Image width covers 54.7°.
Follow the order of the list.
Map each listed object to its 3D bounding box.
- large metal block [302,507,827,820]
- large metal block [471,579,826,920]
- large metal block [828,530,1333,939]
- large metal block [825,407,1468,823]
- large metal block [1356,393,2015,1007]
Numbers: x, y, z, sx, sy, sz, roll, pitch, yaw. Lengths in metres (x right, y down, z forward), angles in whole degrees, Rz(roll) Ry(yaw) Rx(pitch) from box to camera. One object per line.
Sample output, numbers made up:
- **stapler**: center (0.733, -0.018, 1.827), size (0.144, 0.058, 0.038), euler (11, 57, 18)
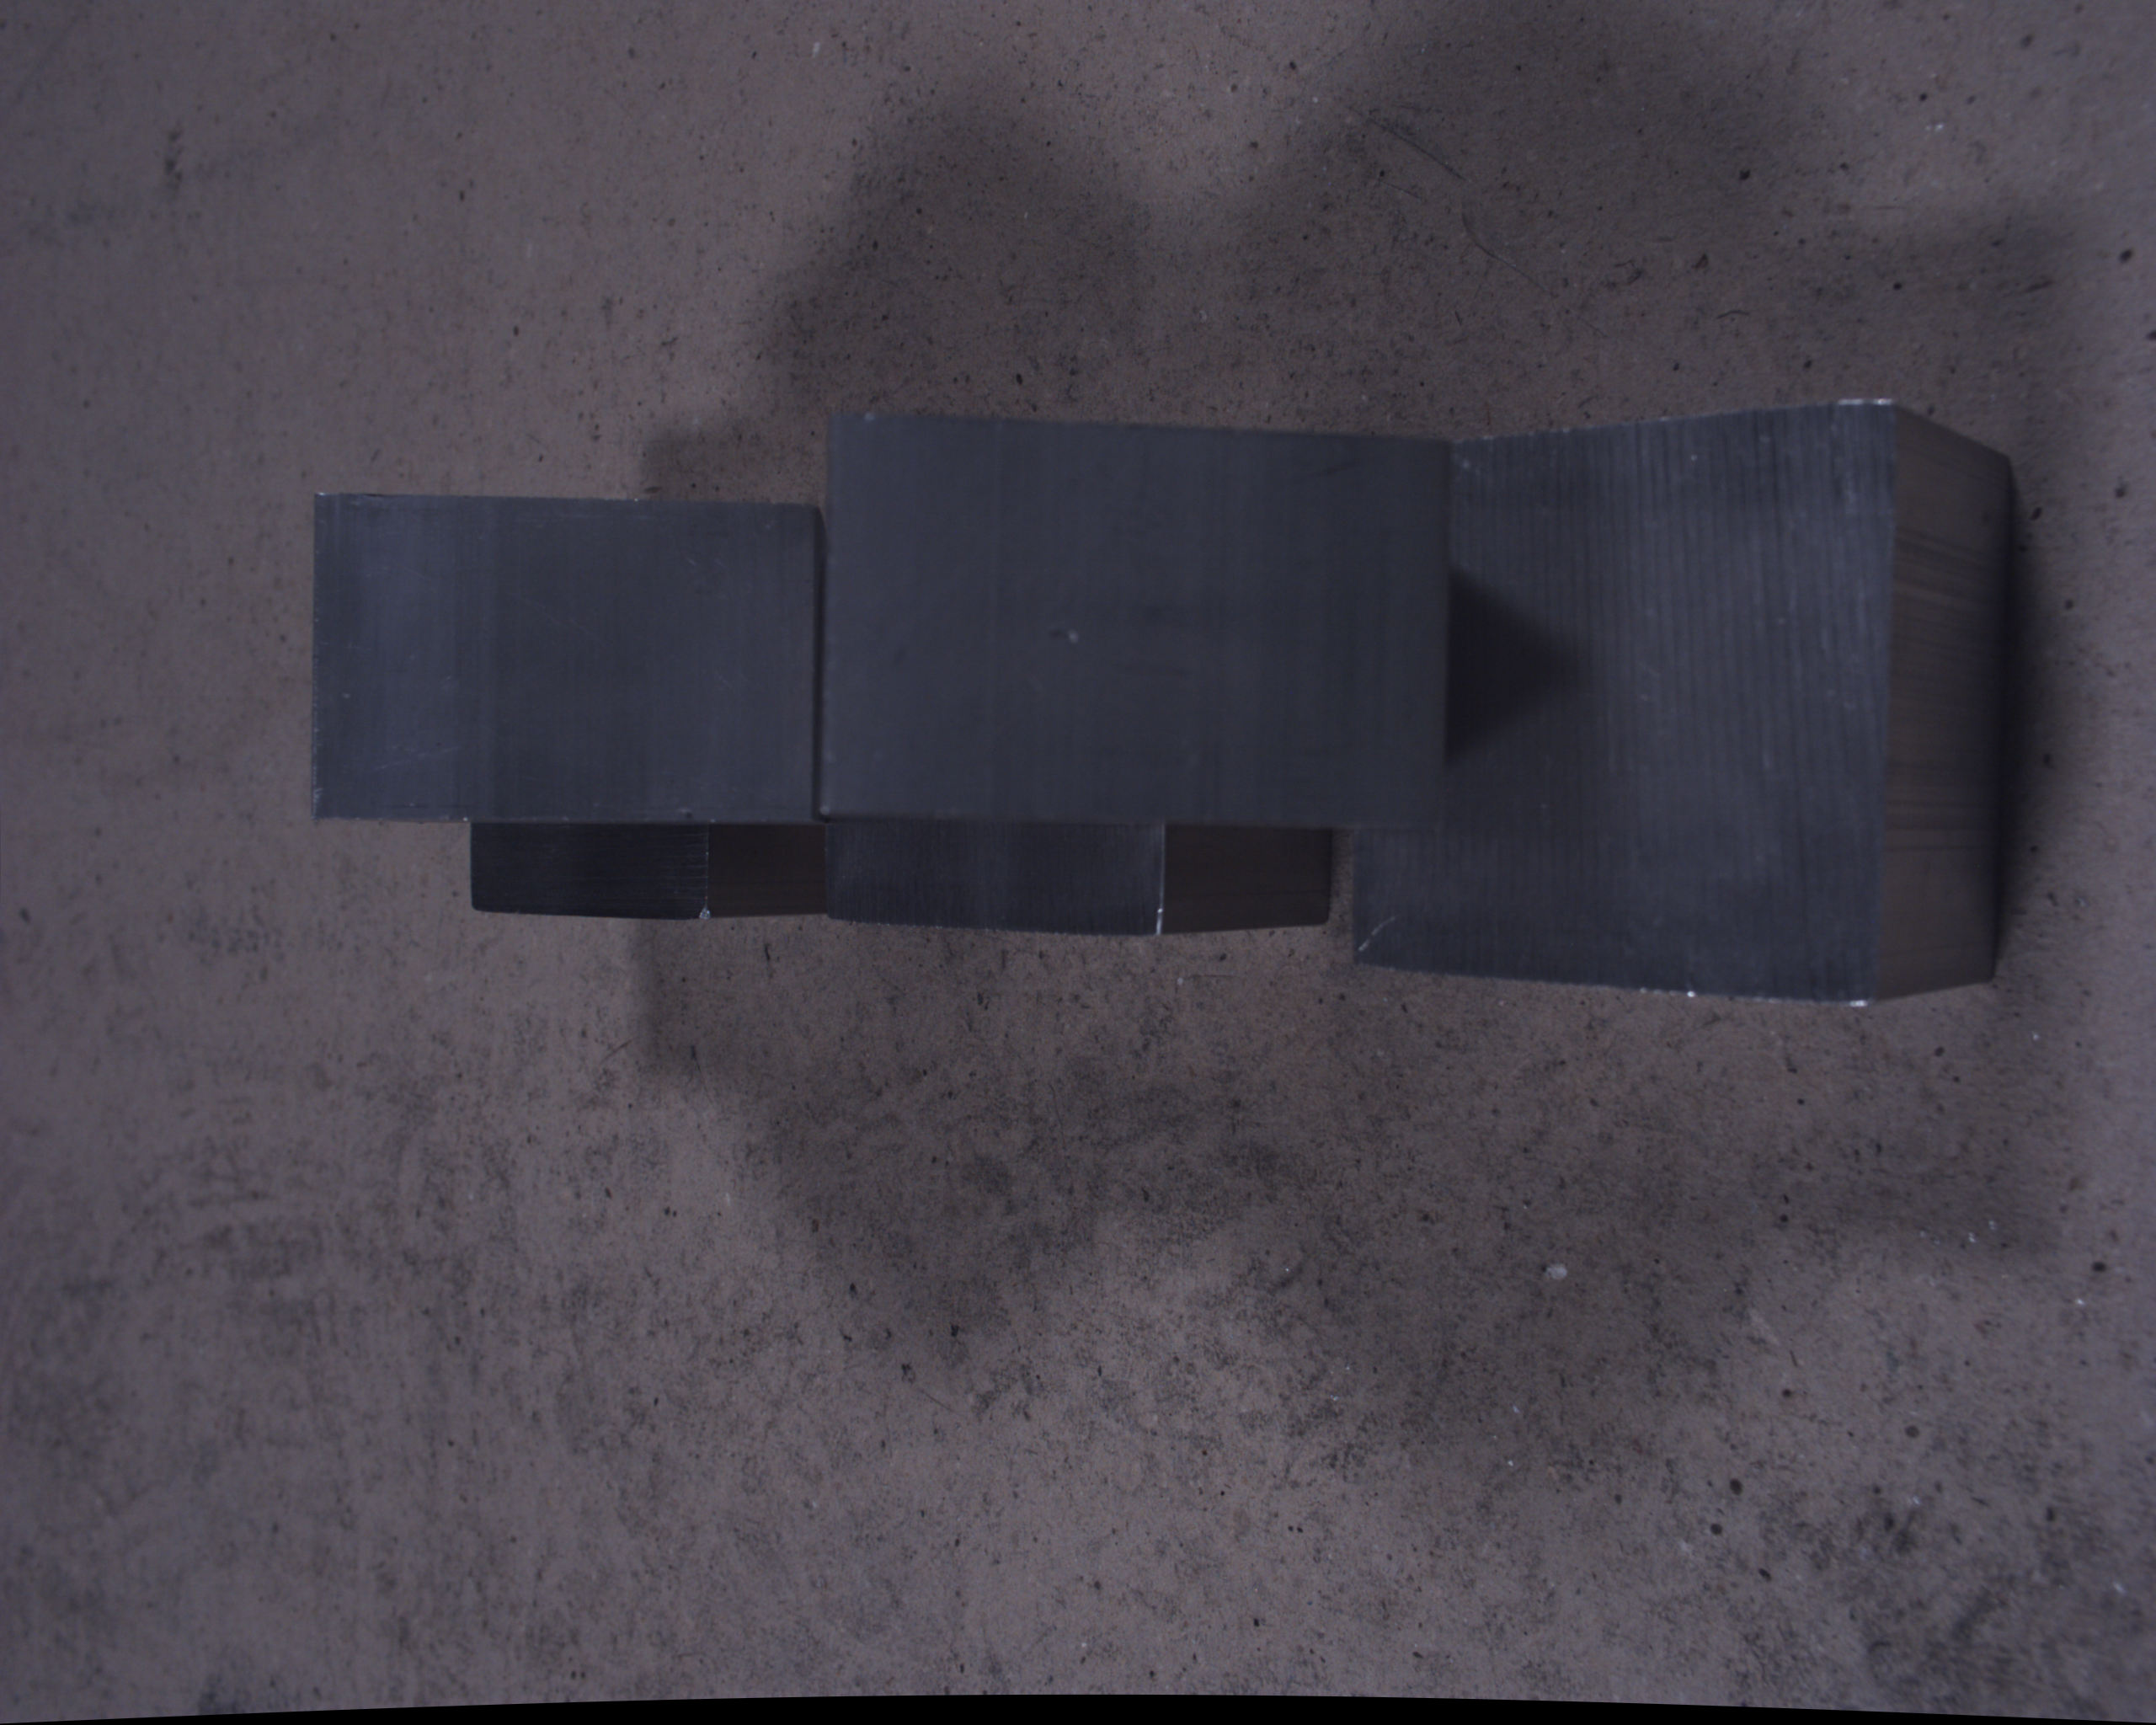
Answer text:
- **large metal block**: center (-0.086, -0.032, 0.374), size (0.081, 0.080, 0.050), euler (-1, 90, -6)
- **large metal block**: center (-0.089, -0.029, 0.461), size (0.080, 0.050, 0.079), euler (1, 90, 39)
- **large metal block**: center (0.000, -0.028, 0.389), size (0.080, 0.050, 0.079), euler (1, 91, 39)
- **large metal block**: center (0.005, -0.031, 0.302), size (0.080, 0.081, 0.050), euler (-172, 84, -84)
- **large metal block**: center (0.091, -0.022, 0.315), size (0.080, 0.050, 0.079), euler (2, 91, 39)
